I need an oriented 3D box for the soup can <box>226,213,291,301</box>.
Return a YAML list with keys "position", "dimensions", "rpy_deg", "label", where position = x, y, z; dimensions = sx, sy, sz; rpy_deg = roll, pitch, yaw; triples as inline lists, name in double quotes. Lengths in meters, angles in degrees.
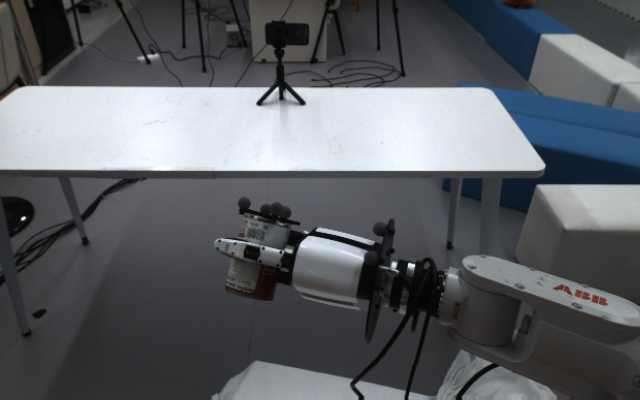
- position: [-0.080, 0.077, 0.643]
  dimensions: [0.067, 0.101, 0.067]
  rpy_deg: [14, -6, 1]
  label: "soup can"
